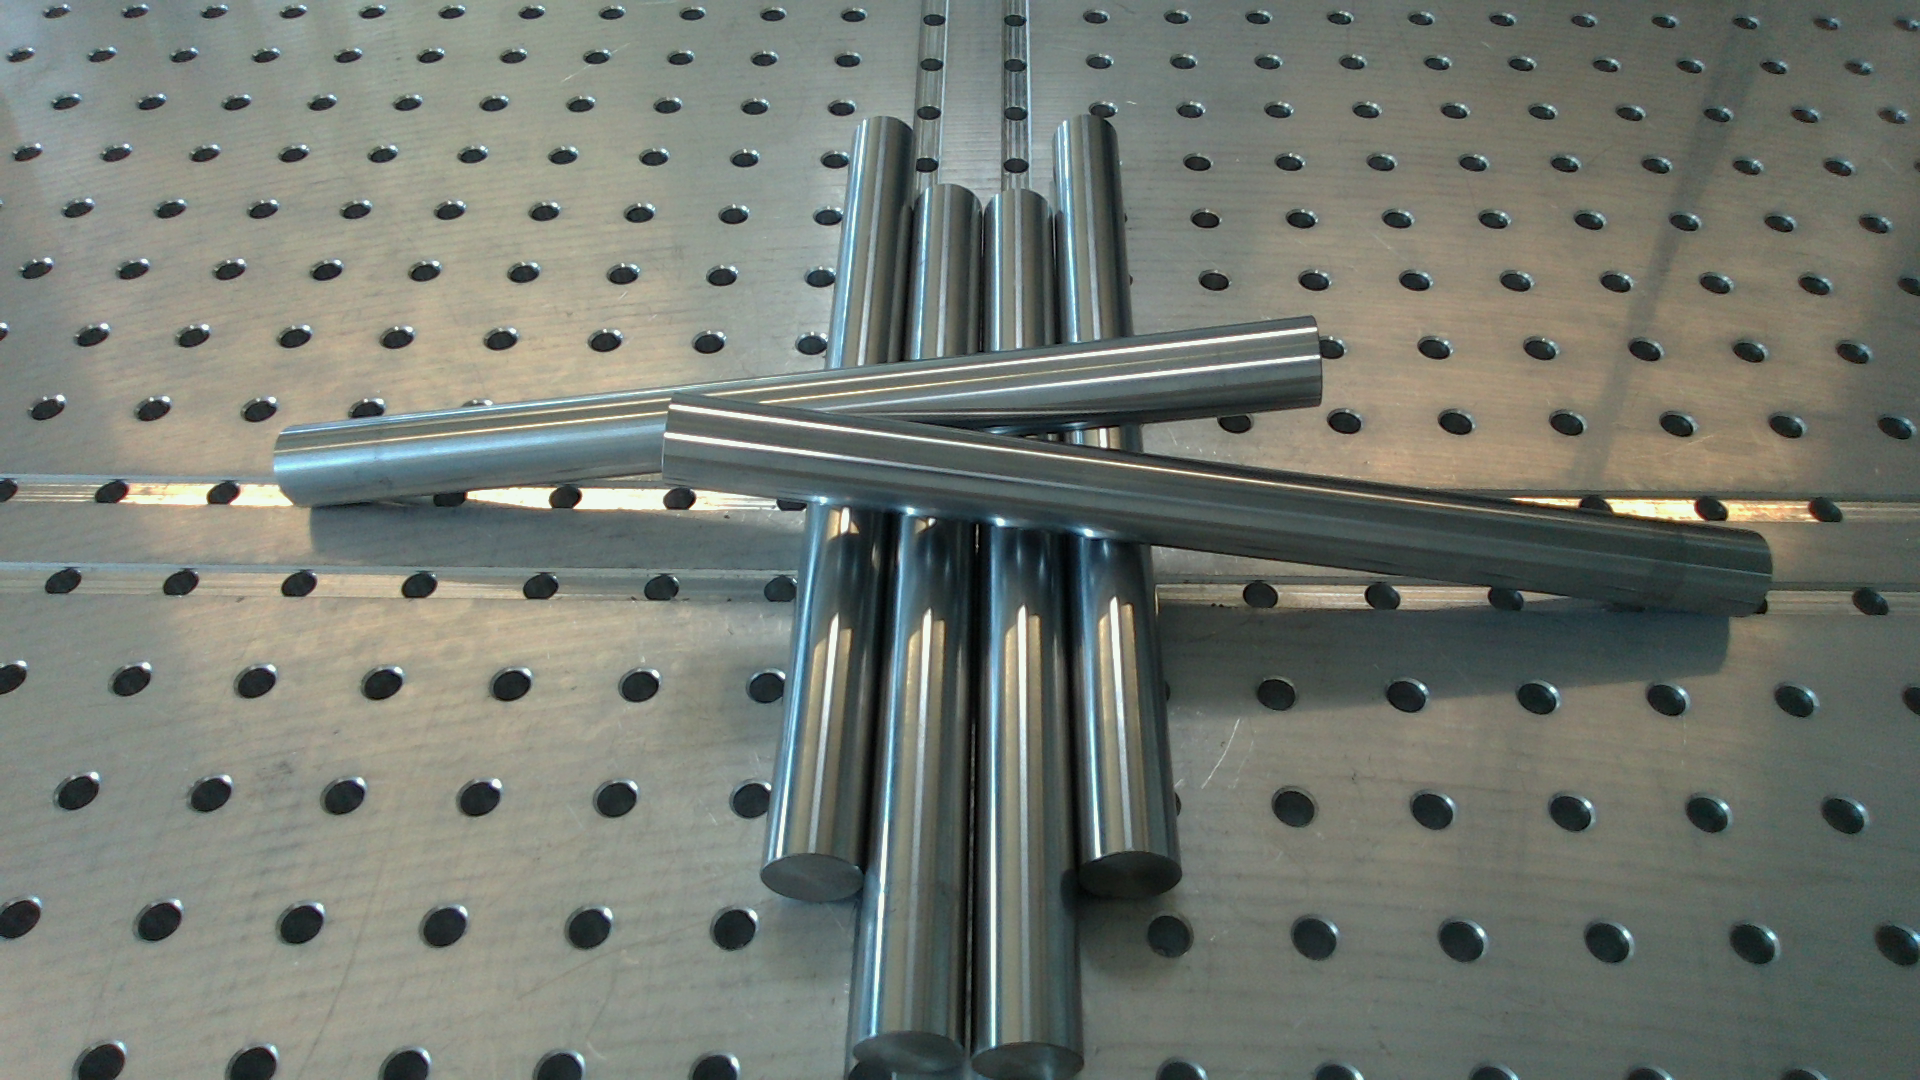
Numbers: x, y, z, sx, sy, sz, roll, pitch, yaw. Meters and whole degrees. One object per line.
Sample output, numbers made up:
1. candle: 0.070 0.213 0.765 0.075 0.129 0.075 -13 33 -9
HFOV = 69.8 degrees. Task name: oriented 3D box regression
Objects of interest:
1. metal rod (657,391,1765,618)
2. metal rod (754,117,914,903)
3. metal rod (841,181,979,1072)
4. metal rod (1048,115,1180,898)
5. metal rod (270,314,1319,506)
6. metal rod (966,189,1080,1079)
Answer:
1. metal rod: 0.071 -0.009 0.375 0.300 0.025 0.025 7 50 -5
2. metal rod: -0.033 -0.034 0.422 0.025 0.025 0.300 1 50 1
3. metal rod: -0.009 -0.003 0.396 0.025 0.025 0.300 1 50 1
4. metal rod: 0.043 -0.035 0.423 0.025 0.025 0.300 1 50 1
5. metal rod: -0.052 -0.036 0.394 0.300 0.025 0.025 -5 49 8
6. metal rod: 0.017 -0.001 0.397 0.025 0.025 0.300 1 50 1
